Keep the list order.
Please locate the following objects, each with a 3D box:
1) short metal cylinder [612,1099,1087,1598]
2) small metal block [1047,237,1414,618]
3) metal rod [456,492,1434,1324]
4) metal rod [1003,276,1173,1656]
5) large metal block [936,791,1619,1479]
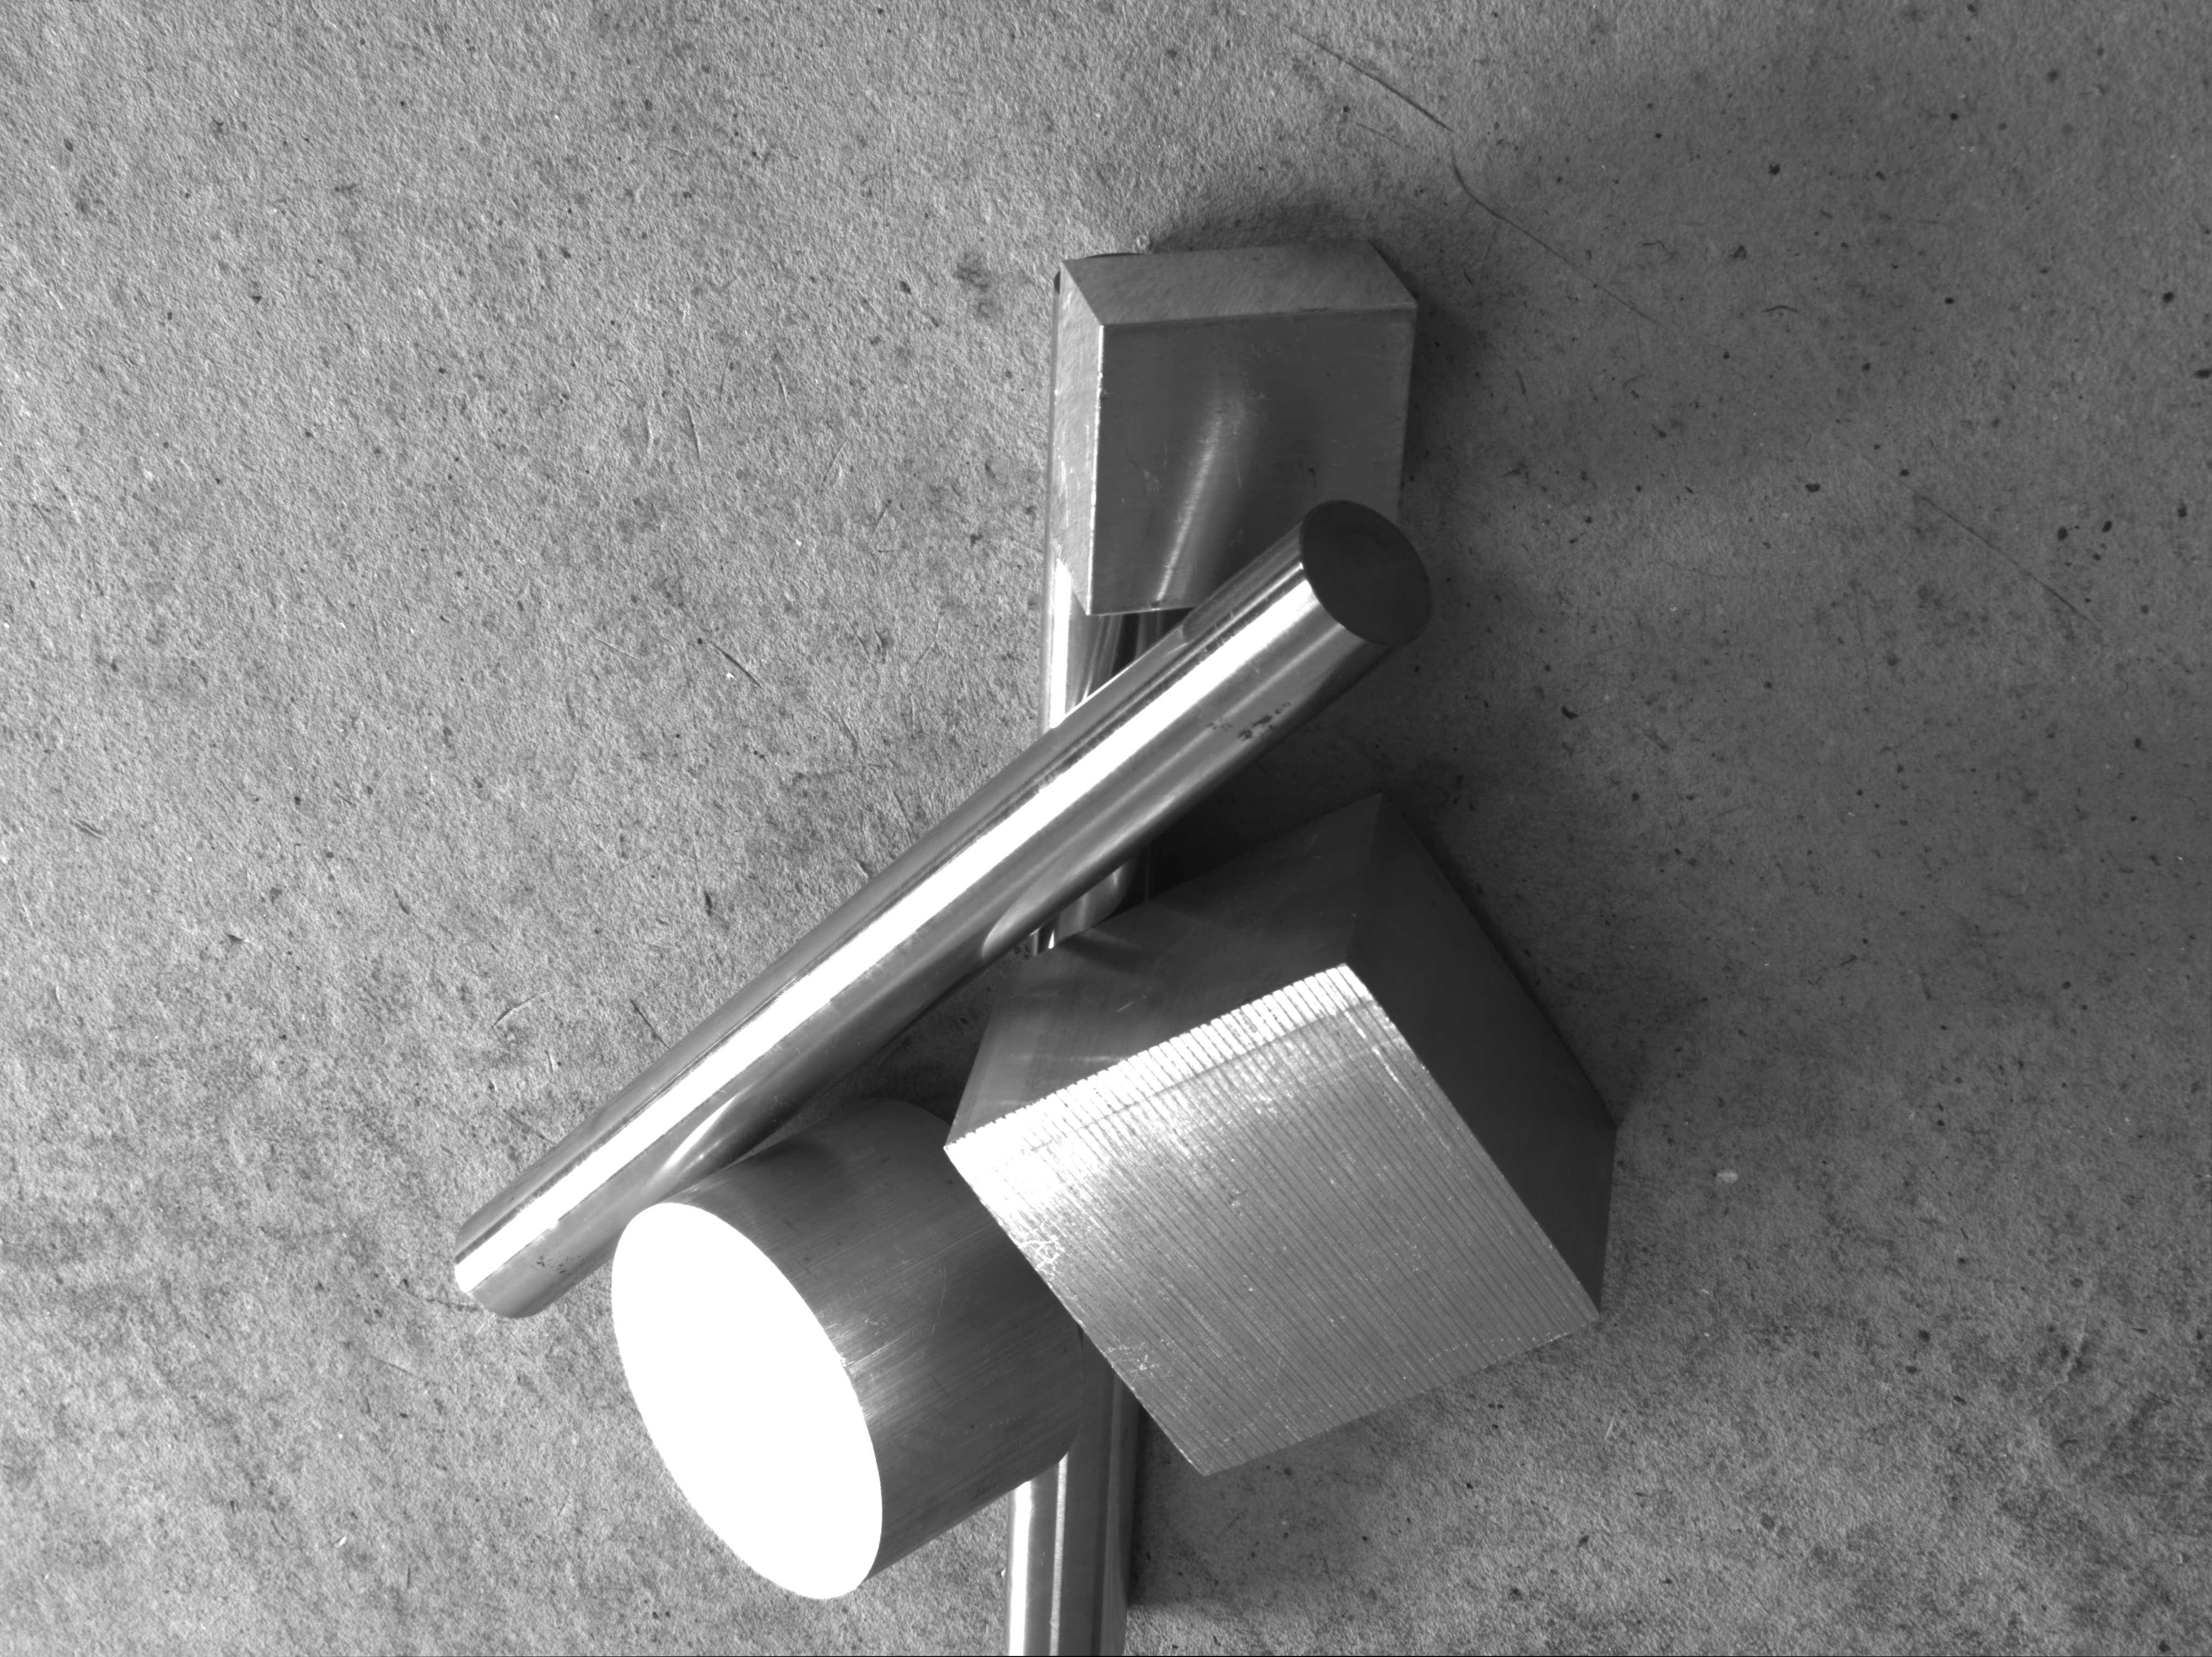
[{"bbox_3d":[-0.049,0.098,0.697,0.080,0.050,0.080,27,129,39],"label":"short metal cylinder"},{"bbox_3d":[0.019,-0.063,0.578,0.050,0.025,0.050,-6,123,-14],"label":"small metal block"},{"bbox_3d":[-0.042,0.026,0.659,0.025,0.025,0.299,47,136,-4],"label":"metal rod"},{"bbox_3d":[-0.003,0.039,0.668,0.025,0.025,0.300,16,125,19],"label":"metal rod"},{"bbox_3d":[0.031,0.053,0.624,0.080,0.050,0.080,-26,114,24],"label":"large metal block"}]
